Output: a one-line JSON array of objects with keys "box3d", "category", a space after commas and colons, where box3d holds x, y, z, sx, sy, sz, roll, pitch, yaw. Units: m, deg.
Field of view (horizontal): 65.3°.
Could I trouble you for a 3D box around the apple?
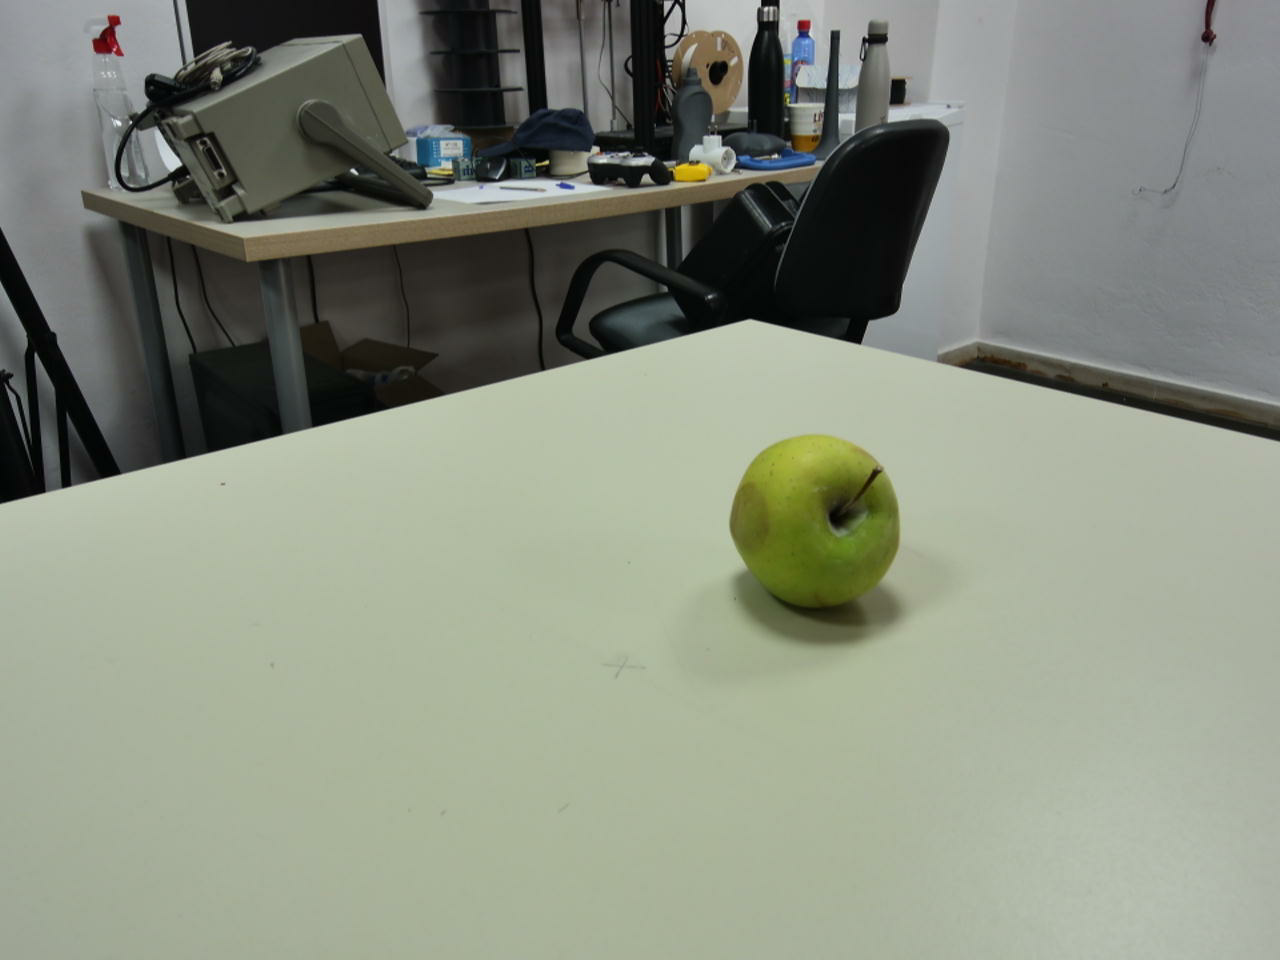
[{"box3d": [0.076, 0.017, 0.440, 0.072, 0.075, 0.077, 2, 22, 5], "category": "apple"}]
